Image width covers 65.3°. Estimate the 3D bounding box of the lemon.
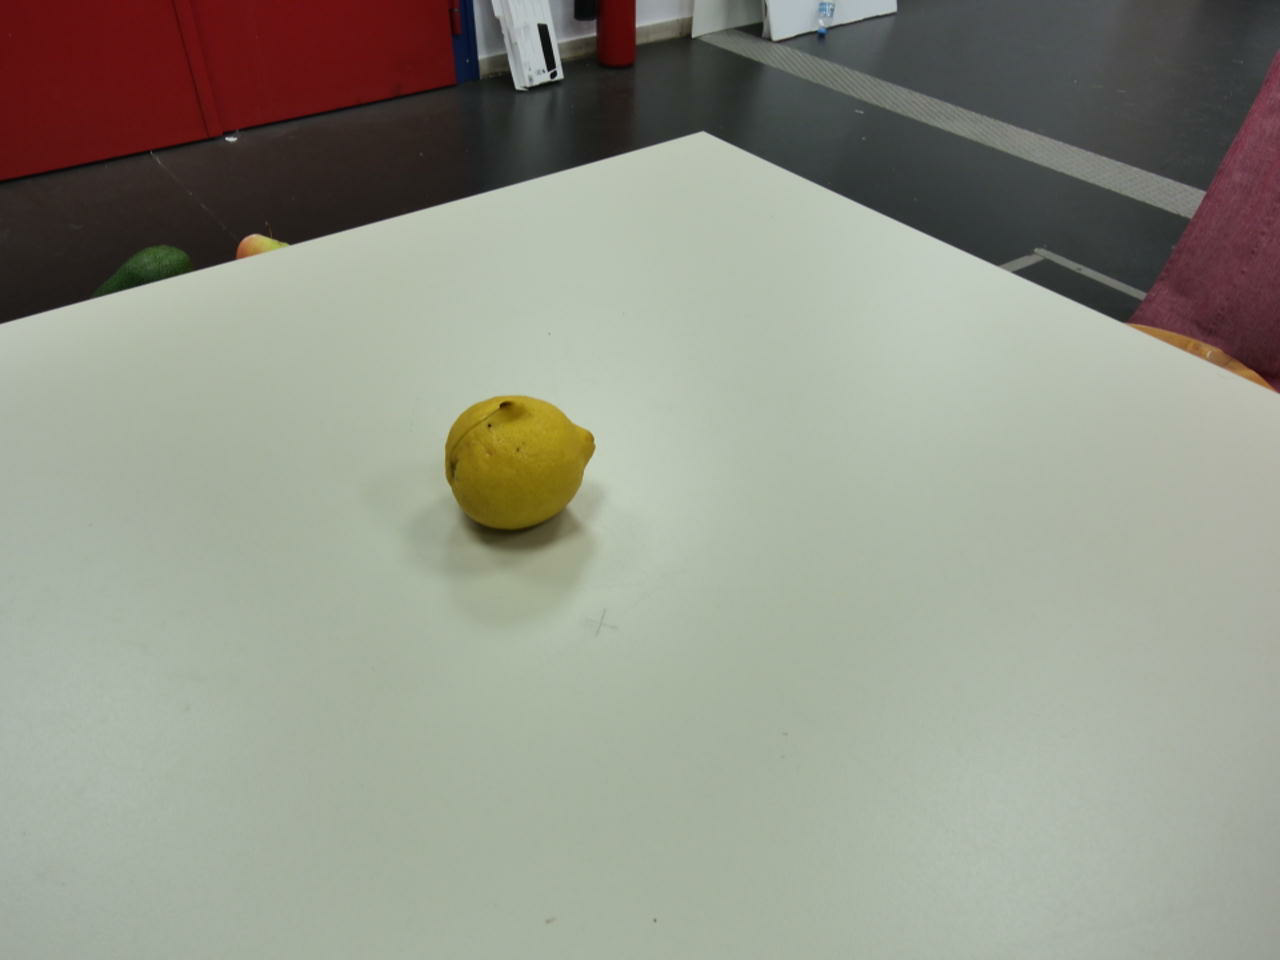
[{"bbox_3d":[-0.064,-0.012,0.504,0.071,0.071,0.070,12,39,14],"label":"lemon"}]
